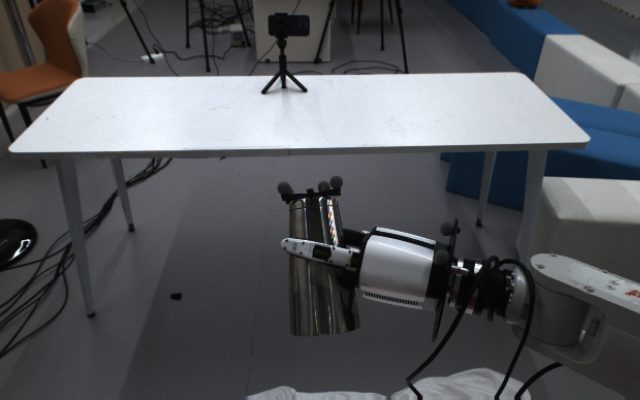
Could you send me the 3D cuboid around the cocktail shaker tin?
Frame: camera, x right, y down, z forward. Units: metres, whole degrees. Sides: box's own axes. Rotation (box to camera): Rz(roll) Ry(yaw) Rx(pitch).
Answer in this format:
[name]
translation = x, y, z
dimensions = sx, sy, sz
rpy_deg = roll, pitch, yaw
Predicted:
[cocktail shaker tin]
translation = -0.001, 0.086, 0.639
dimensions = 0.093, 0.170, 0.093
rpy_deg = -6, -7, -1
